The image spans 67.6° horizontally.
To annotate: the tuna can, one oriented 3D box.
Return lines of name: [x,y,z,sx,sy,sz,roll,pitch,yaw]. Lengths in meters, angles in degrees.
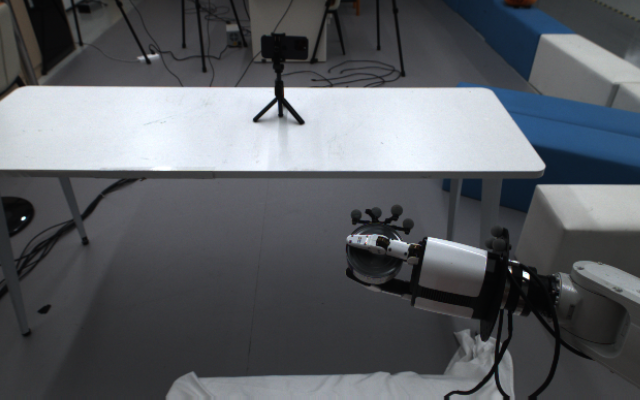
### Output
tuna can: [0.081,0.074,0.706,0.085,0.034,0.085,-2,57,3]
